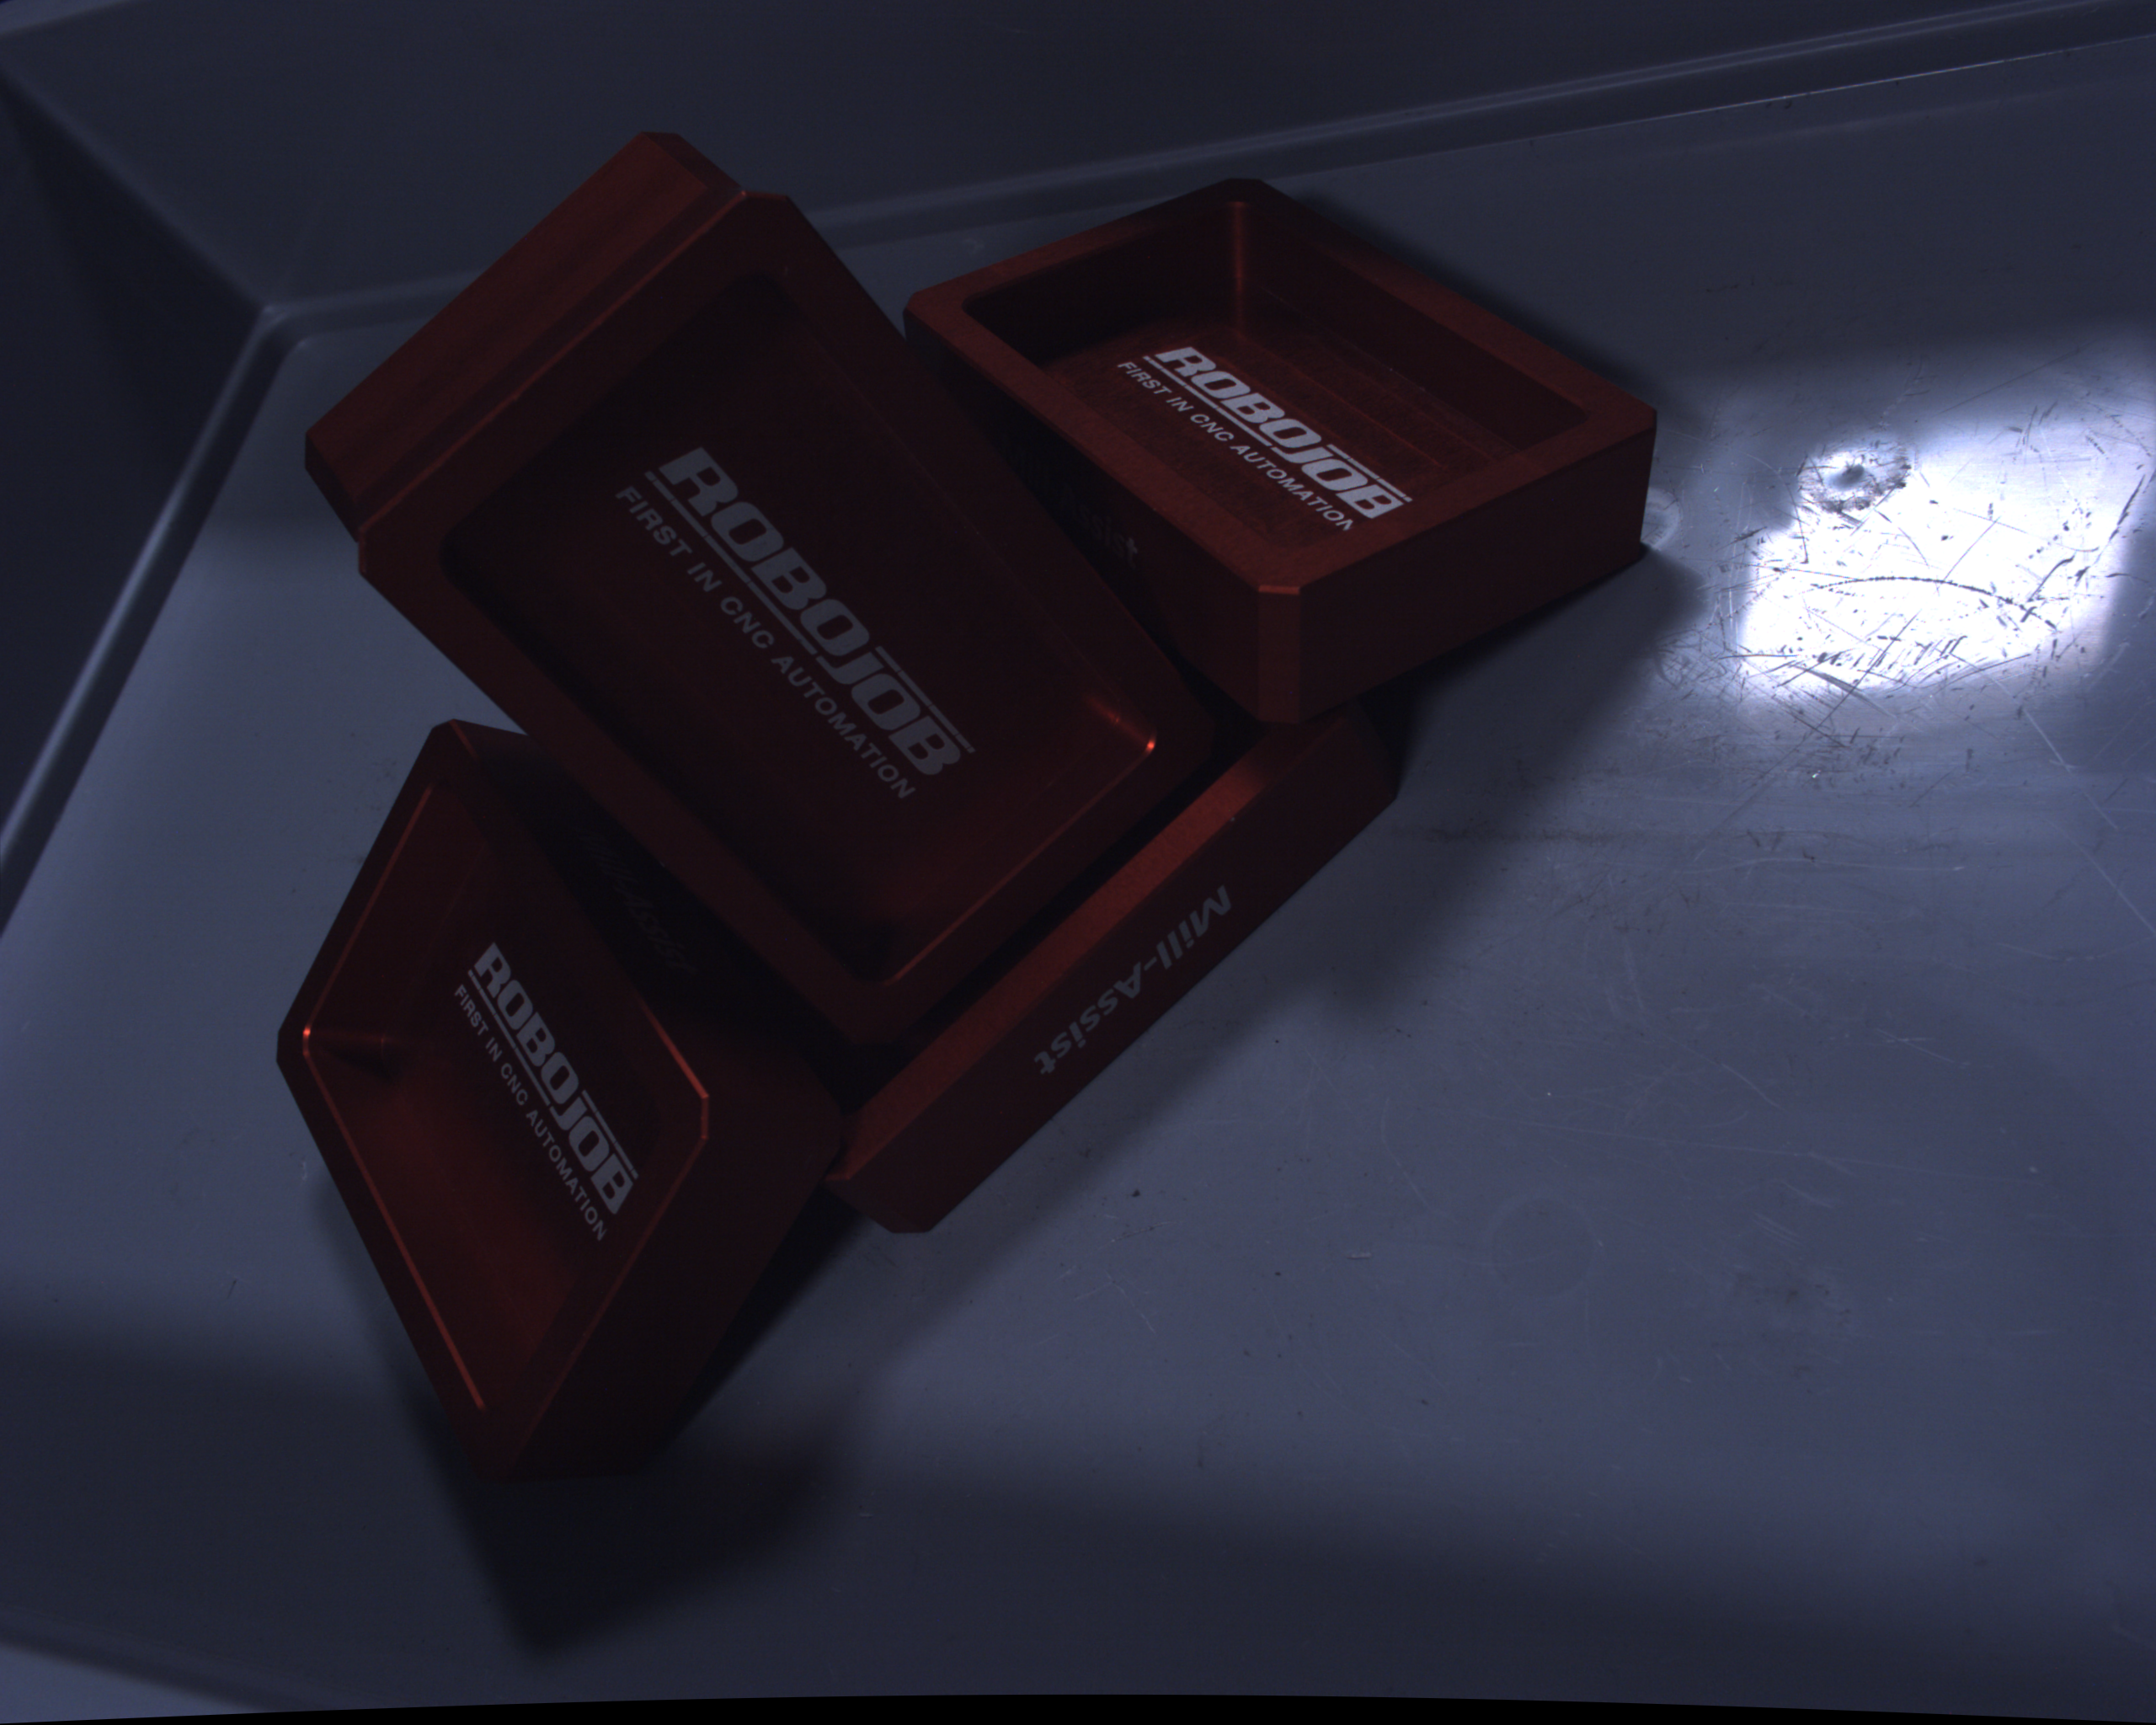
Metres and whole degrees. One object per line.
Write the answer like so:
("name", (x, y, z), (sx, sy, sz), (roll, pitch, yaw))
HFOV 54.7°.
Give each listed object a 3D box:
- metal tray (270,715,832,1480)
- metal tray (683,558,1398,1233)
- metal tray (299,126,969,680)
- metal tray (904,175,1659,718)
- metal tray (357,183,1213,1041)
("metal tray", (-0.108, 0.042, 0.407), (0.130, 0.030, 0.090), (46, 112, 38))
("metal tray", (-0.014, -0.003, 0.408), (0.130, 0.030, 0.090), (-43, 51, -2))
("metal tray", (-0.073, -0.066, 0.412), (0.090, 0.130, 0.030), (-43, 51, -1))
("metal tray", (0.036, -0.088, 0.412), (0.091, 0.030, 0.130), (-26, 48, -21))
("metal tray", (-0.049, -0.041, 0.370), (0.090, 0.130, 0.030), (-42, 28, -1))
